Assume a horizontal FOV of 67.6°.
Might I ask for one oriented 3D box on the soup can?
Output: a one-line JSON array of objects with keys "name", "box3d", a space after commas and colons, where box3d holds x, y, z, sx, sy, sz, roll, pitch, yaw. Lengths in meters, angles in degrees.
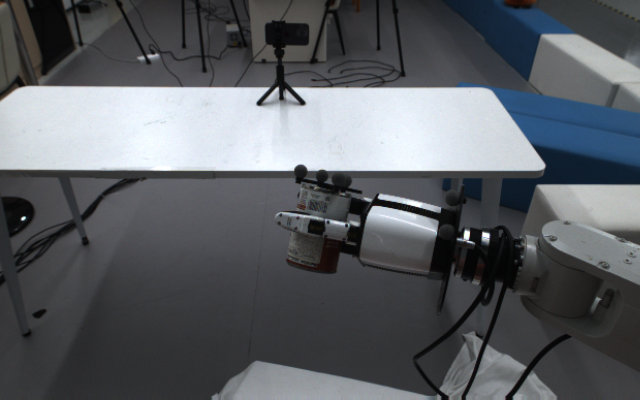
[{"name": "soup can", "box3d": [0.000, 0.036, 0.616, 0.067, 0.101, 0.067, 12, 2, 0]}]
